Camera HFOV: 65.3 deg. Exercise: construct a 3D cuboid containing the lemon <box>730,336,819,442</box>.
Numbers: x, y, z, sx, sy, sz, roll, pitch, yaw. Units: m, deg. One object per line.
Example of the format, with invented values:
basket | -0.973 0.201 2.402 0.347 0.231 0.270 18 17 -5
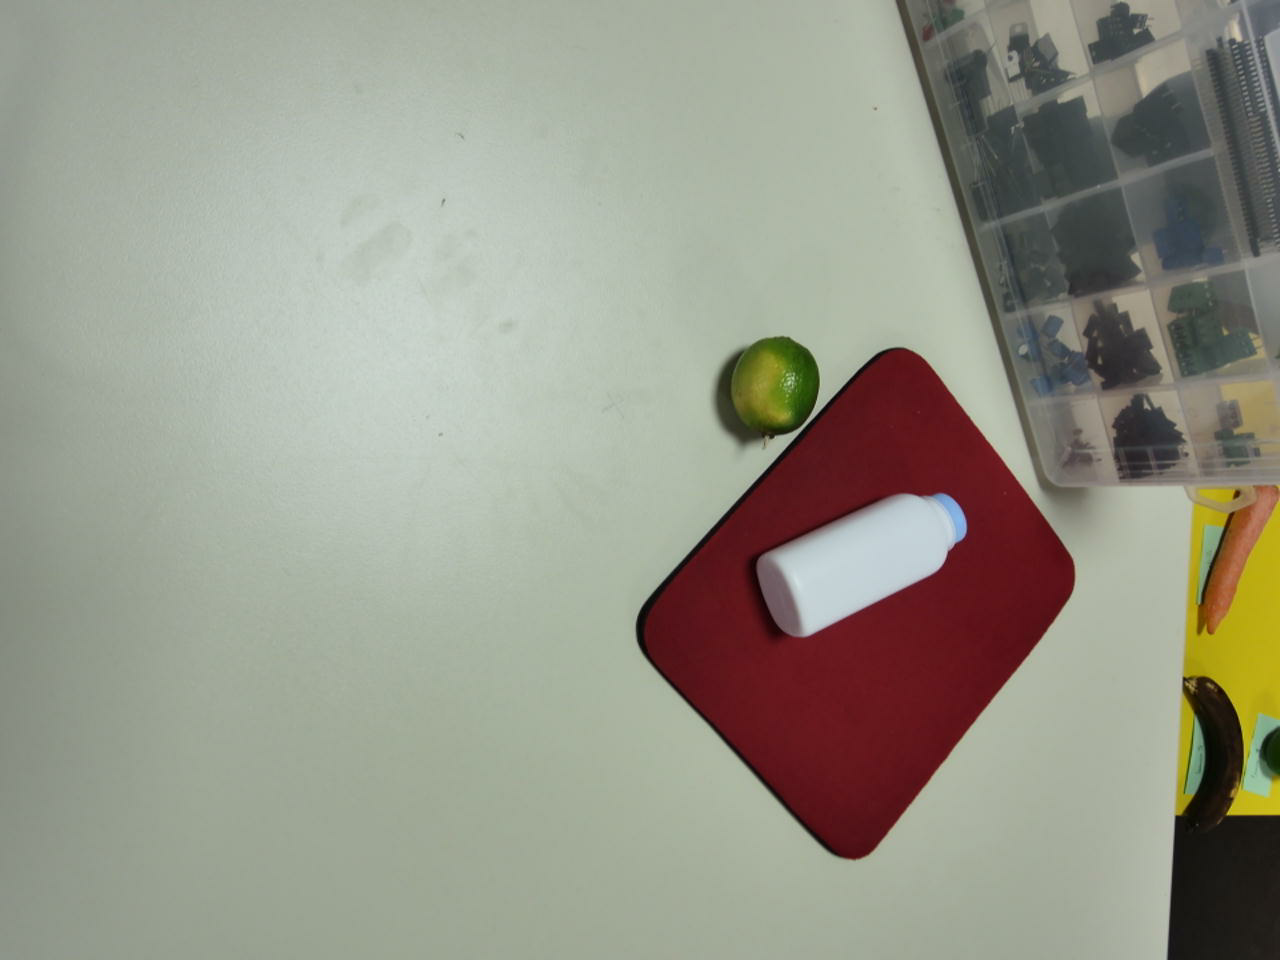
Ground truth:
lemon | 0.079 -0.055 0.584 0.055 0.050 0.054 -37 104 -18
